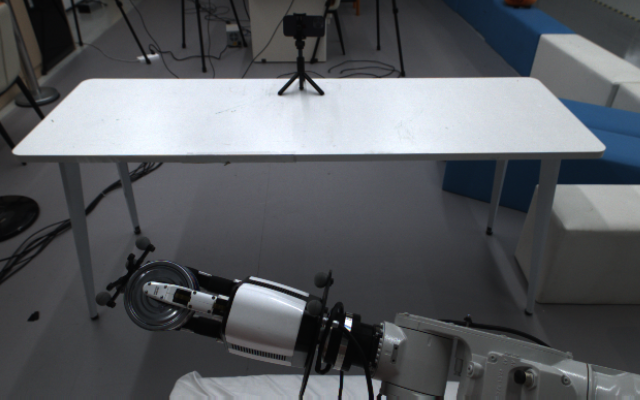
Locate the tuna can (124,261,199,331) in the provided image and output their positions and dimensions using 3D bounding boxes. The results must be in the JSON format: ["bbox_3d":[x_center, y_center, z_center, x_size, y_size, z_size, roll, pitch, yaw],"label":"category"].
[{"bbox_3d":[-0.189,0.121,0.590,0.085,0.034,0.085,1,77,-4],"label":"tuna can"}]
